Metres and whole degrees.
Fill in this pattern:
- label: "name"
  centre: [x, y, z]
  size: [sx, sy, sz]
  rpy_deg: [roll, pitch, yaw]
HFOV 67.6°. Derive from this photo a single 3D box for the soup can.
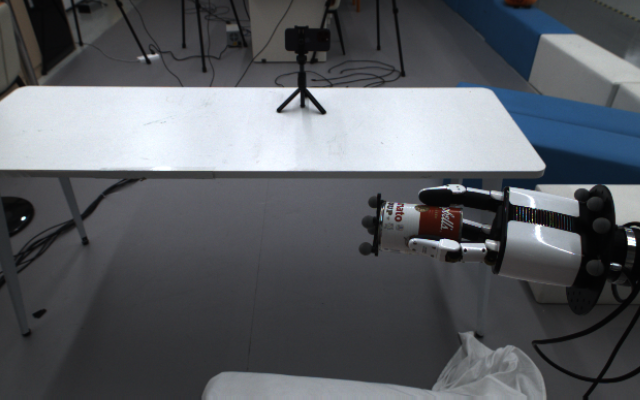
- label: "soup can"
  centre: [0.133, 0.038, 0.633]
  size: [0.101, 0.067, 0.067]
  rpy_deg: [5, 34, 13]
